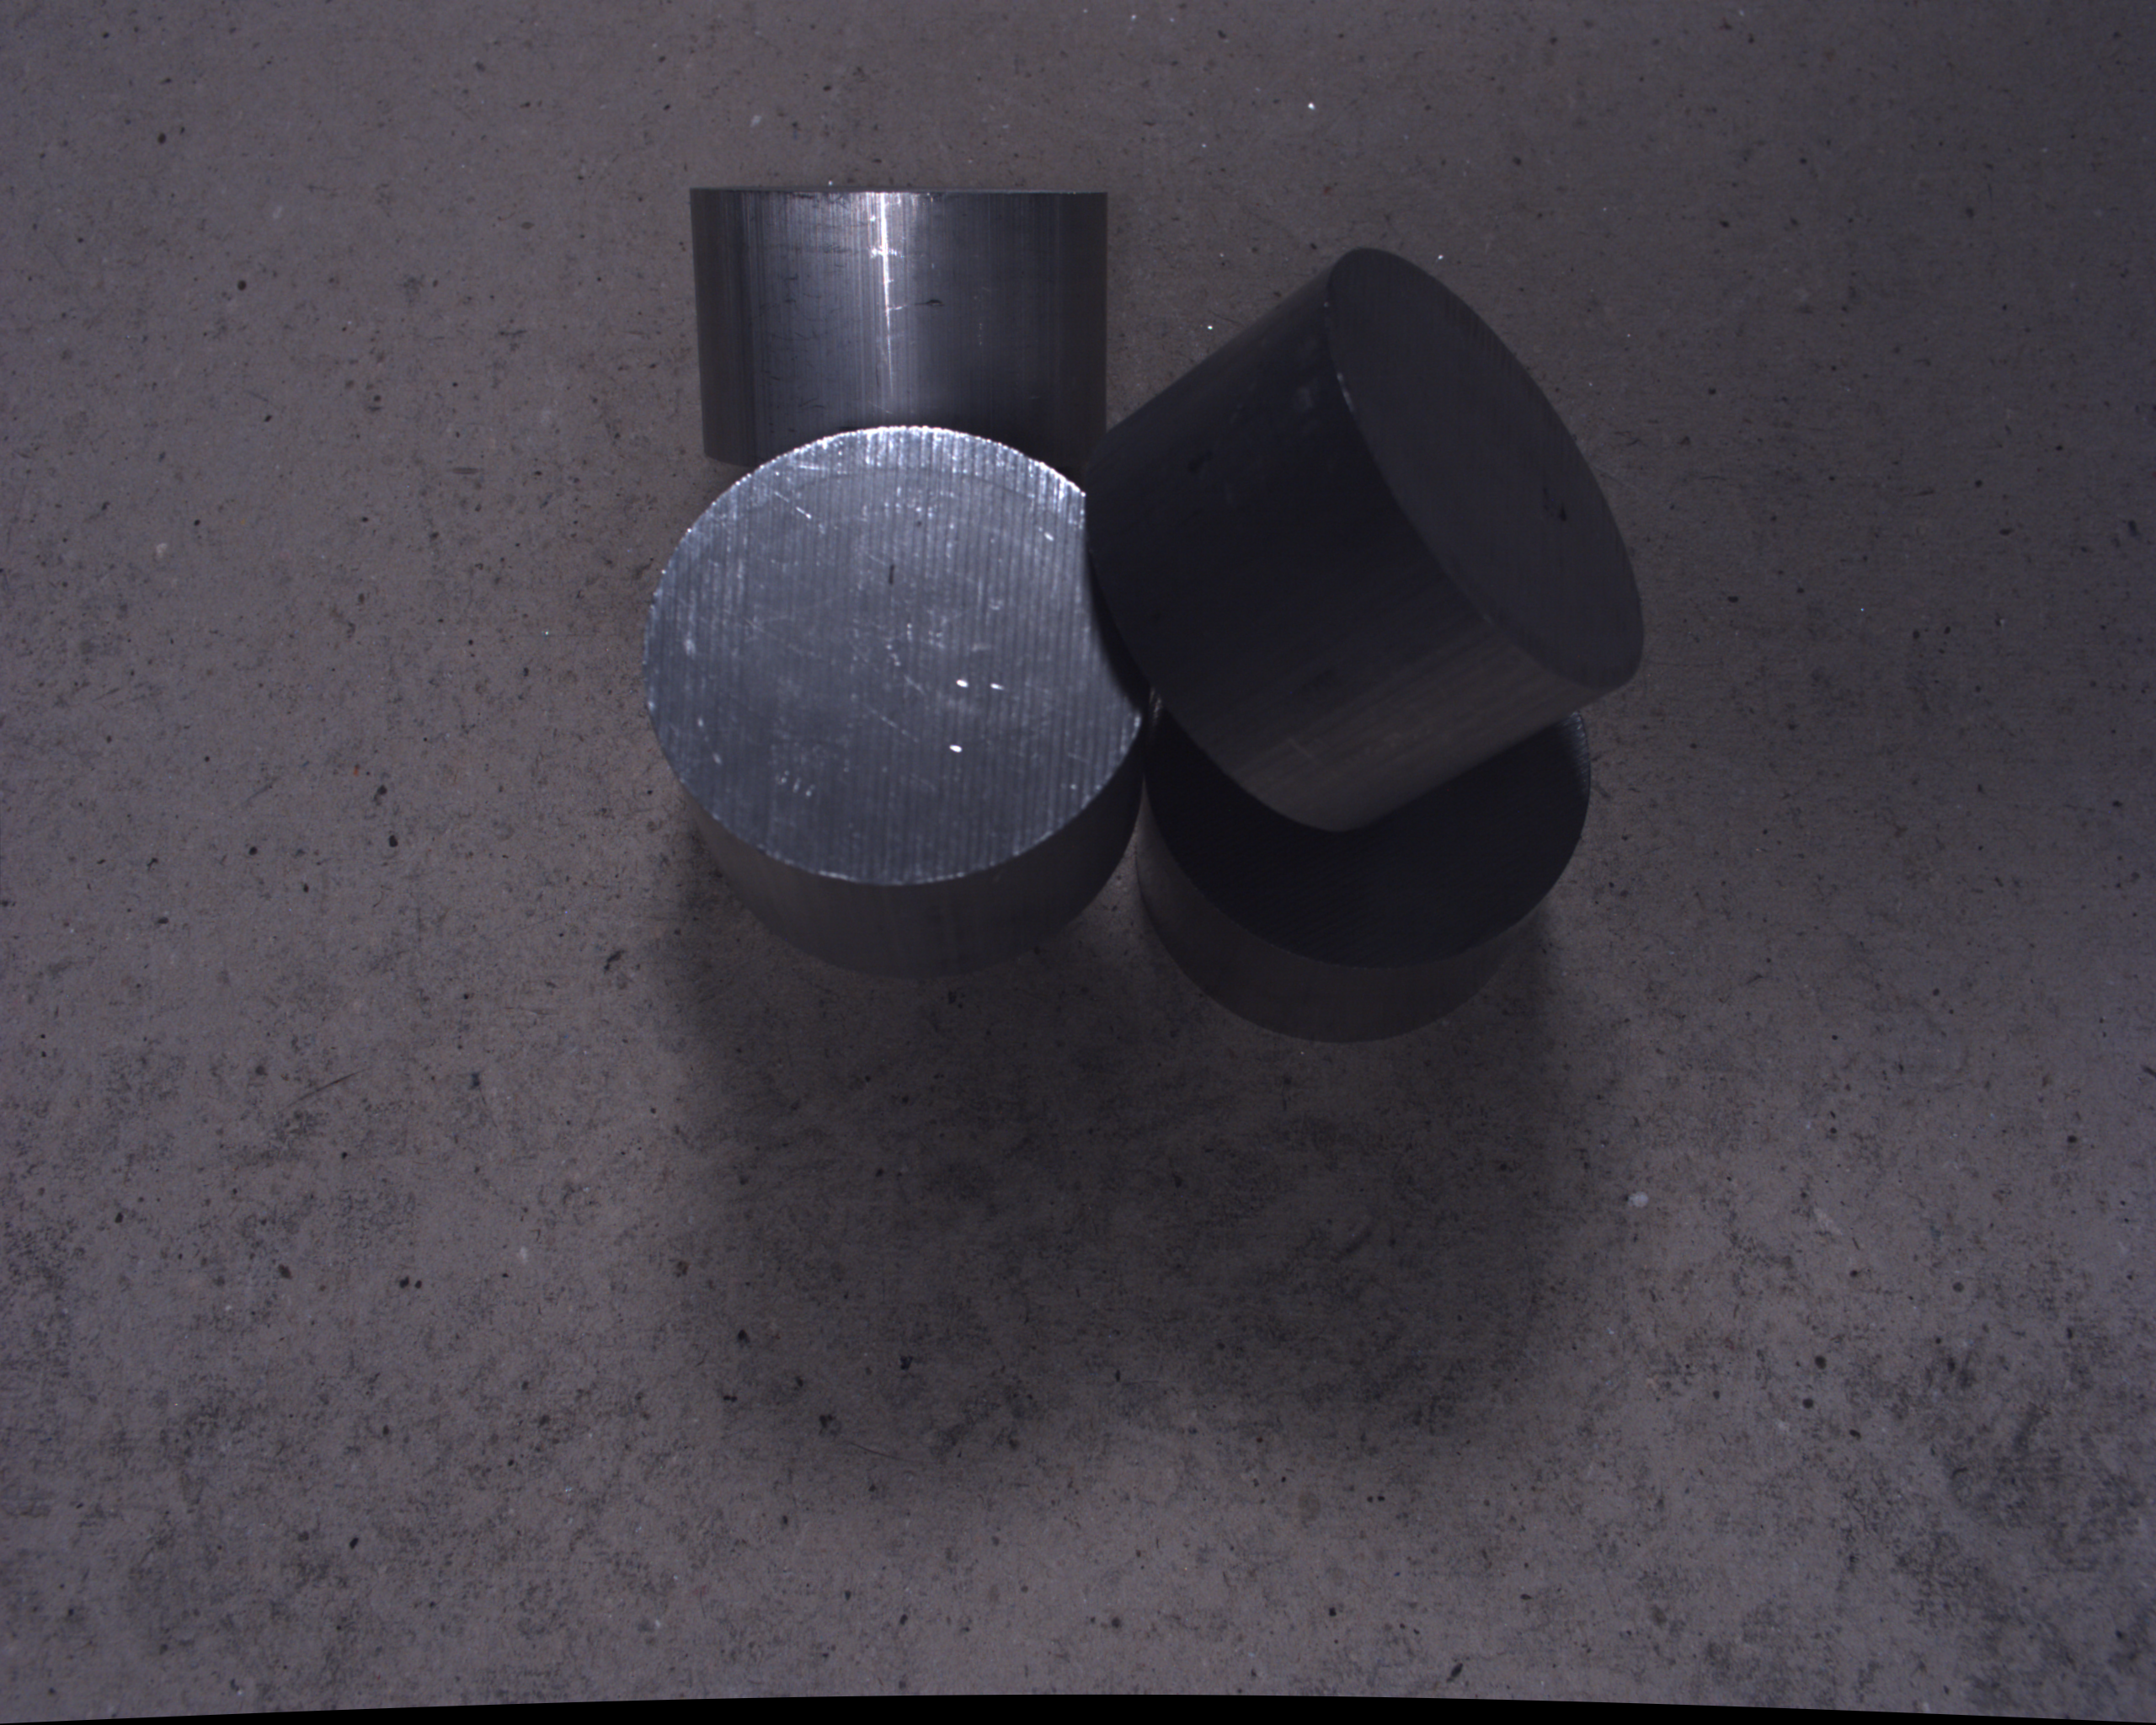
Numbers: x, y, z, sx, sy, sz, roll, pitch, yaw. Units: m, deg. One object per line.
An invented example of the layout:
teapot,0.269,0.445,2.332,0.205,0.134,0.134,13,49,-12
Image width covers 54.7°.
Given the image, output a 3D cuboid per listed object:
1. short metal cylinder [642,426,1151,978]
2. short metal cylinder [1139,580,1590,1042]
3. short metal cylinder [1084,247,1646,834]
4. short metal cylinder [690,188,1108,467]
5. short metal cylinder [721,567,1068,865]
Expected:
short metal cylinder,-0.028,-0.026,0.351,0.081,0.050,0.080,0,70,0
short metal cylinder,0.052,-0.011,0.400,0.081,0.050,0.080,0,70,0
short metal cylinder,0.047,-0.051,0.339,0.050,0.081,0.080,-32,67,34
short metal cylinder,-0.034,-0.107,0.412,0.081,0.080,0.050,0,109,0
short metal cylinder,-0.039,-0.030,0.406,0.081,0.050,0.080,0,70,0
